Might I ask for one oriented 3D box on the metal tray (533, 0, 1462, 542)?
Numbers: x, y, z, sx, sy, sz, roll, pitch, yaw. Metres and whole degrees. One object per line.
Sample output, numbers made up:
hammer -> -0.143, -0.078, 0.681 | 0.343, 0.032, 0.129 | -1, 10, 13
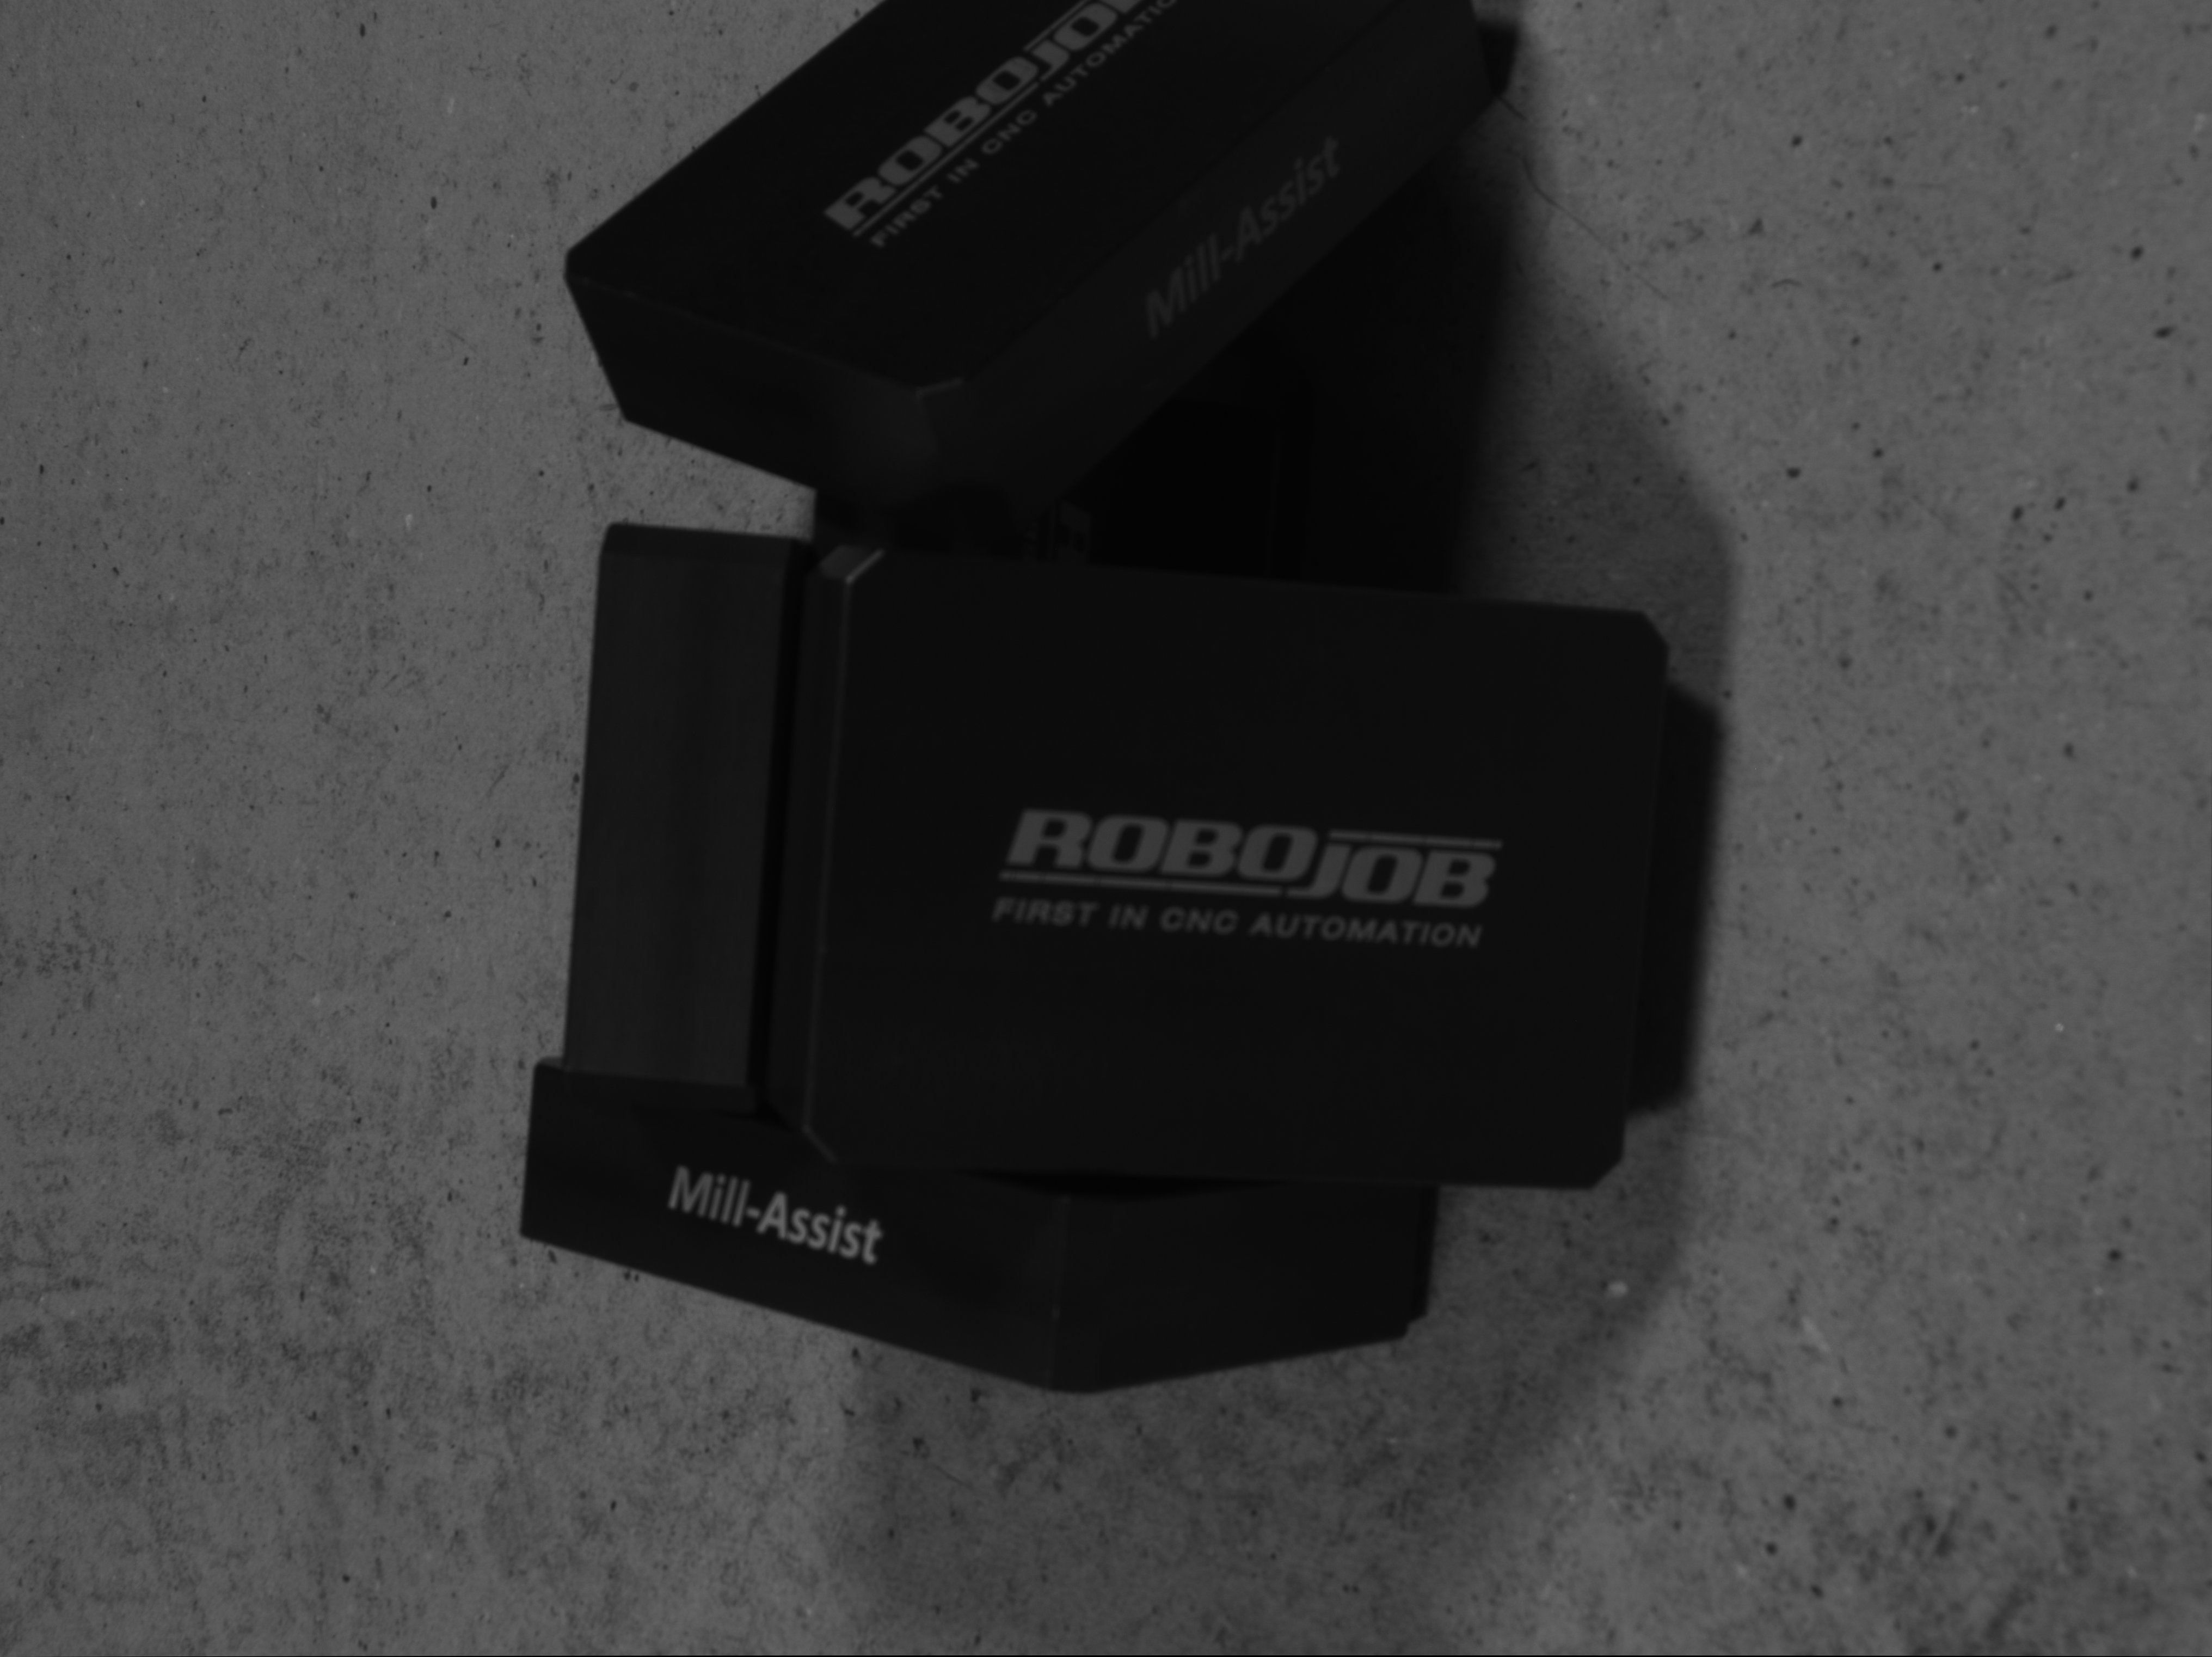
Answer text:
metal tray -> -0.016, -0.105, 0.590 | 0.090, 0.130, 0.030 | 22, 145, 37

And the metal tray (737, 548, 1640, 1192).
metal tray -> 0.013, 0.007, 0.561 | 0.030, 0.130, 0.090 | -163, 77, -72

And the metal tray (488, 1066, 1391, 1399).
metal tray -> -0.029, 0.063, 0.617 | 0.130, 0.090, 0.030 | 9, 96, 39

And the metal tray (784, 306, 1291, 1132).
metal tray -> -0.014, -0.017, 0.605 | 0.030, 0.090, 0.130 | 9, 96, 39

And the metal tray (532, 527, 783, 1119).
metal tray -> -0.067, -0.004, 0.628 | 0.030, 0.130, 0.090 | 5, 94, 3
